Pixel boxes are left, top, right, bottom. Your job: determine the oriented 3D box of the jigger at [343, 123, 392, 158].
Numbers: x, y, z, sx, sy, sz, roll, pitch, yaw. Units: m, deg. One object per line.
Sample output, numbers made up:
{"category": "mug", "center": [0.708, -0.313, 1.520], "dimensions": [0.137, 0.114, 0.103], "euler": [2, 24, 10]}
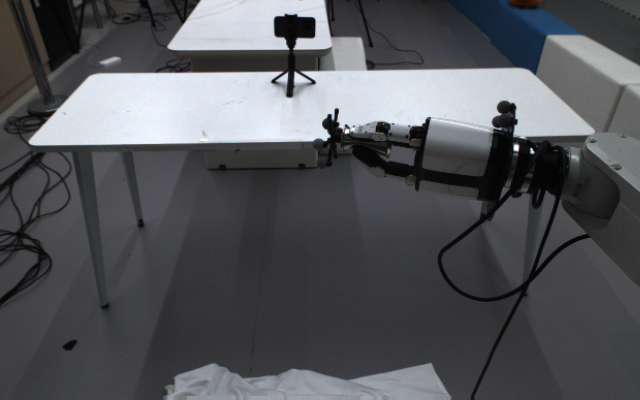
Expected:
{"category": "jigger", "center": [0.074, -0.091, 0.697], "dimensions": [0.071, 0.043, 0.043], "euler": [8, 35, 16]}
